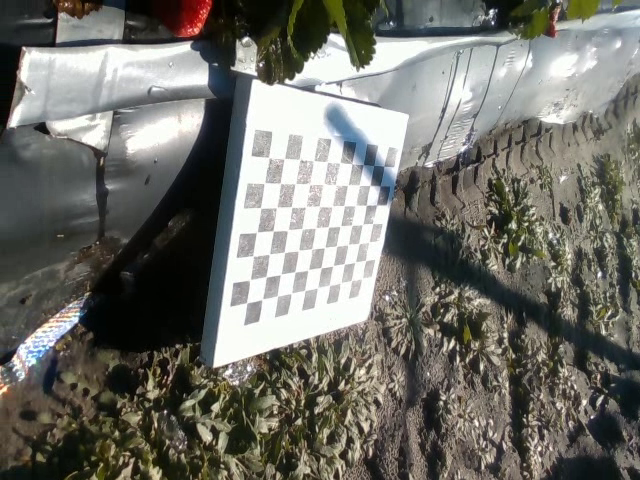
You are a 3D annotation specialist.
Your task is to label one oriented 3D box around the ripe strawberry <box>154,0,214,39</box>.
[{"bbox_3d":[-0.104,-0.180,0.494,0.058,0.065,0.061,-23,-34,11],"label":"ripe strawberry"}]
